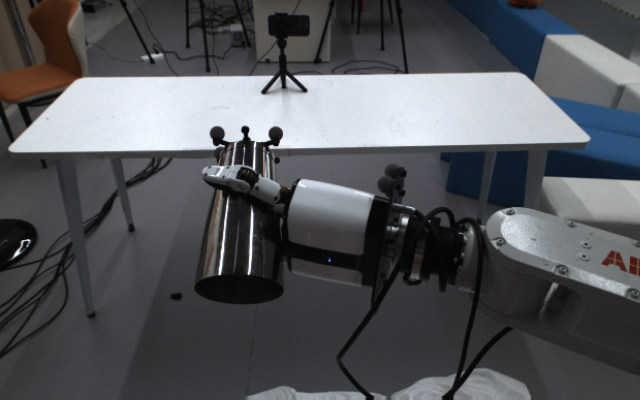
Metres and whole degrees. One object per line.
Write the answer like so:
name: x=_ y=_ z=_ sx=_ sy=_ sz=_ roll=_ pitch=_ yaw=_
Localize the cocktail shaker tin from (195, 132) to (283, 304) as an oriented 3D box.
cocktail shaker tin: x=-0.085 y=0.021 z=0.539 sx=0.093 sy=0.093 sz=0.170 roll=0 pitch=59 yaw=-3
